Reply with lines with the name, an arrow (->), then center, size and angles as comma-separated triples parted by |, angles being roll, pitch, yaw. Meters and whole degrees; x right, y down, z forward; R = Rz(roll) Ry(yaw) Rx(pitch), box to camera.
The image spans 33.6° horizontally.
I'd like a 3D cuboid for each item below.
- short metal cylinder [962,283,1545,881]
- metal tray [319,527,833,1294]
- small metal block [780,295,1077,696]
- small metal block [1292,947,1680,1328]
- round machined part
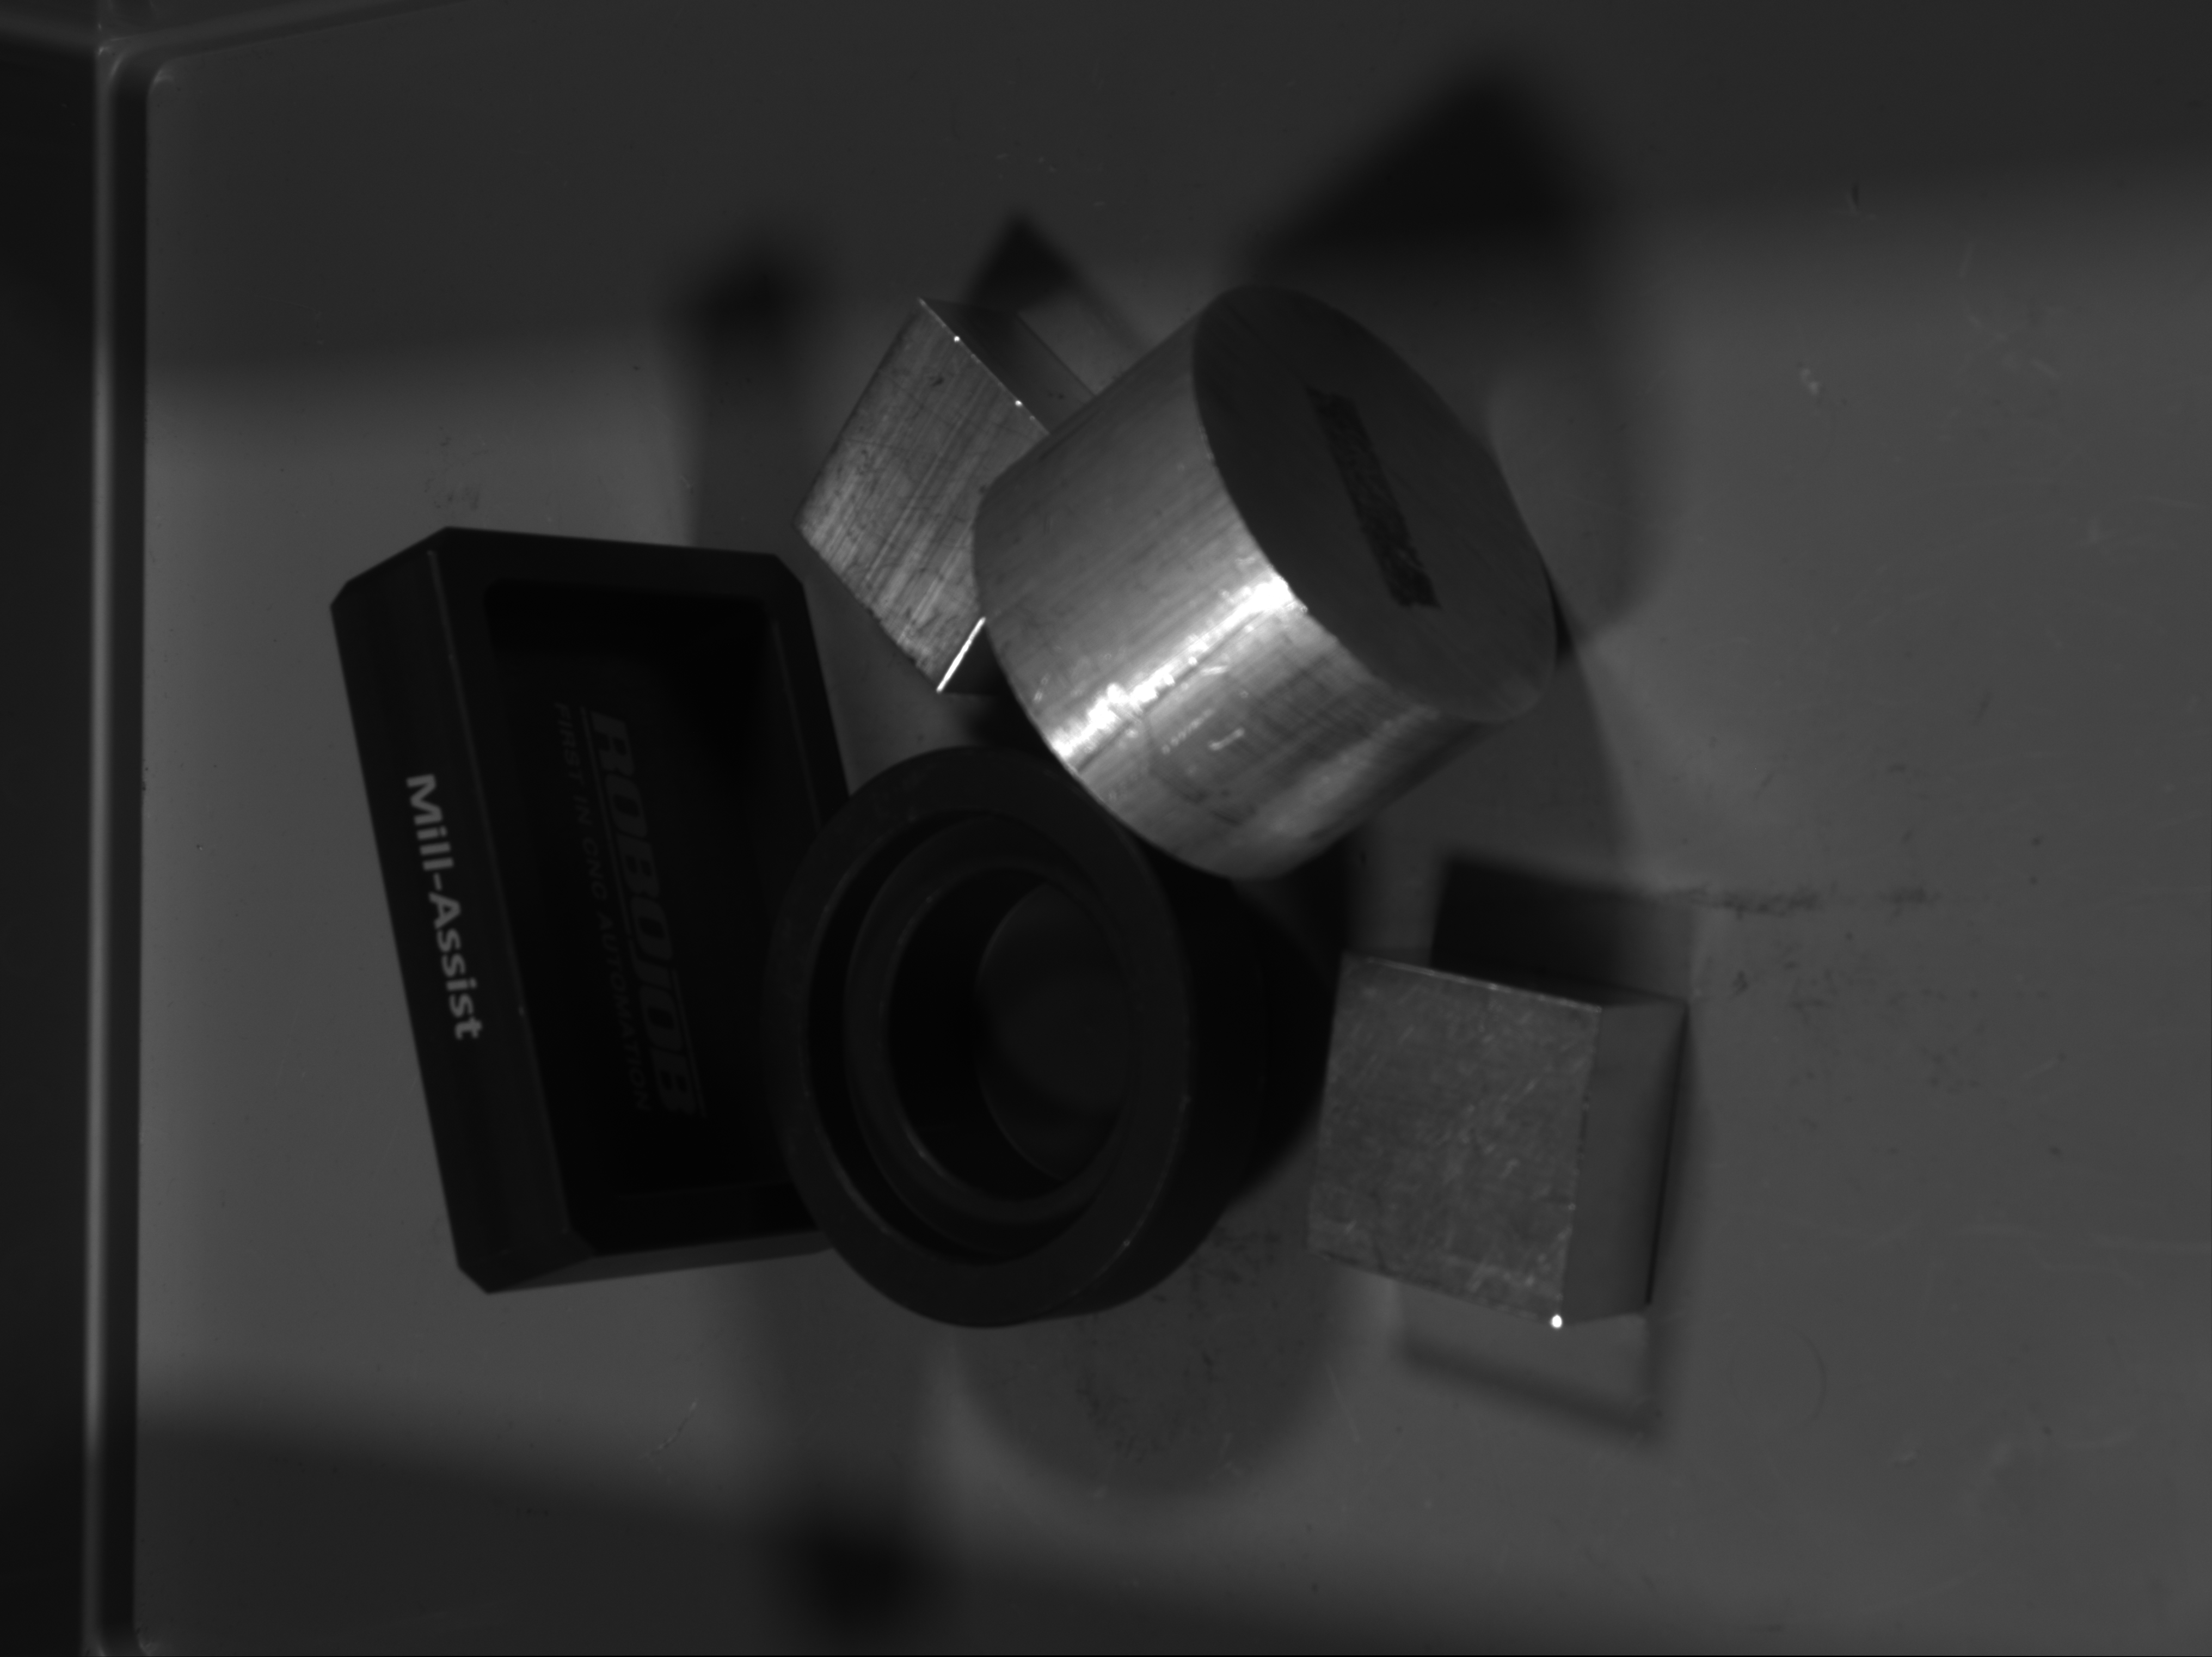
short metal cylinder -> 0.024, -0.039, 0.580 | 0.050, 0.080, 0.080 | -36, 68, 34
metal tray -> -0.087, 0.014, 0.664 | 0.030, 0.090, 0.130 | -22, 76, 38
small metal block -> -0.025, -0.059, 0.655 | 0.050, 0.025, 0.050 | 48, 119, 30
small metal block -> 0.060, 0.048, 0.585 | 0.050, 0.025, 0.050 | 12, 97, 40
round machined part -> -0.013, 0.035, 0.633 | 0.098, 0.042, 0.098 | 0, 90, 39
